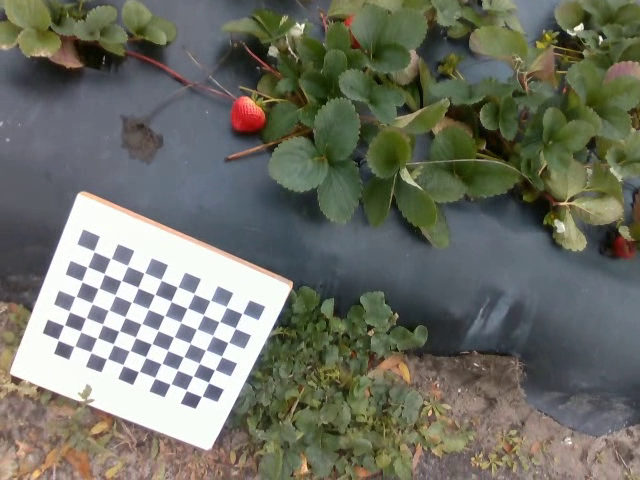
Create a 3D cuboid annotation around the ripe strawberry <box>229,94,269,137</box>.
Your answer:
[{"bbox_3d":[-0.121,-0.200,0.904,0.061,0.065,0.050,34,7,-14],"label":"ripe strawberry"}]
